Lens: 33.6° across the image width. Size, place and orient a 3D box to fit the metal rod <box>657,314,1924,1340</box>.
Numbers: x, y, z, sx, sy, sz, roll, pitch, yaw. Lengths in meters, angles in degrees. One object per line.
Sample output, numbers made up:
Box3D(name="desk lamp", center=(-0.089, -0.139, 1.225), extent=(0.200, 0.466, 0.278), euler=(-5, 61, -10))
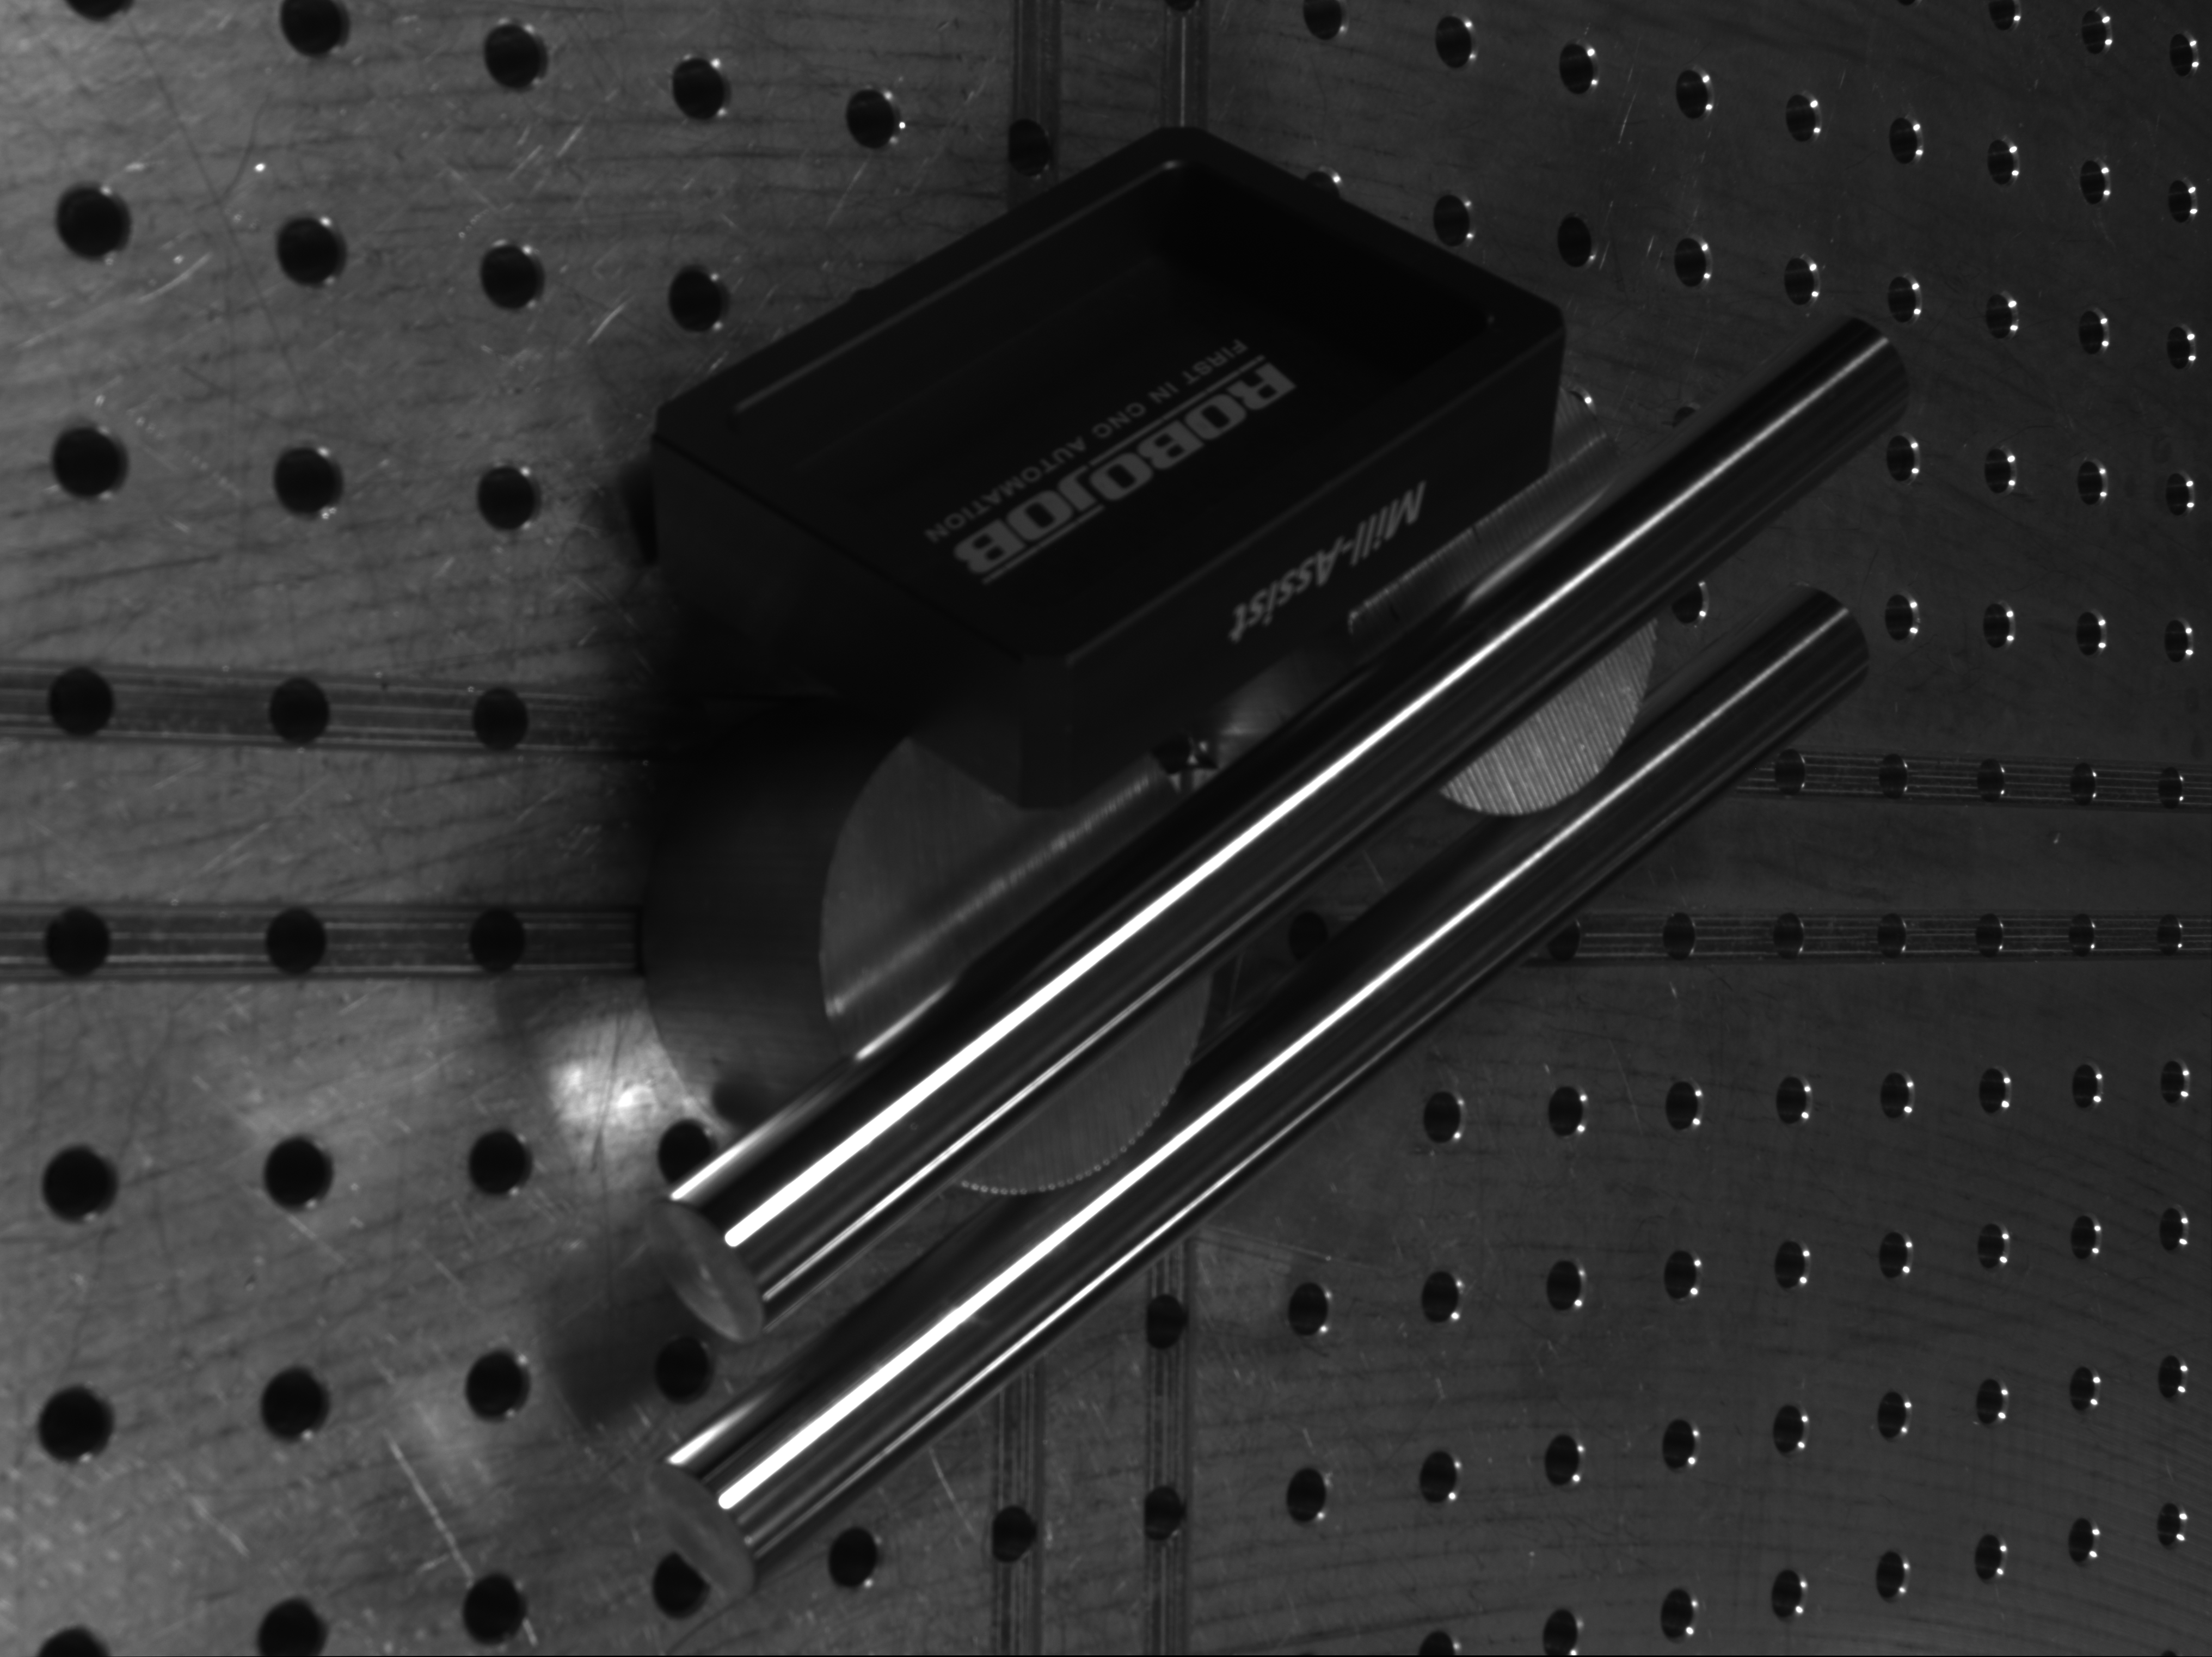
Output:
Box3D(name="metal rod", center=(0.044, -0.011, 0.611), extent=(0.301, 0.025, 0.025), euler=(-37, 112, -34))

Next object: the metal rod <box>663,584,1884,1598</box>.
Box3D(name="metal rod", center=(0.042, 0.035, 0.642), extent=(0.301, 0.025, 0.025), euler=(-35, 112, -34))

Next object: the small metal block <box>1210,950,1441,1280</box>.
Box3D(name="small metal block", center=(0.032, 0.052, 0.666), extent=(0.050, 0.025, 0.050), euler=(19, 78, -38))

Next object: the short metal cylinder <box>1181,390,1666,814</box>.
Box3D(name="short metal cylinder", center=(0.057, -0.043, 0.672), extent=(0.080, 0.050, 0.080), euler=(0, 90, -40))

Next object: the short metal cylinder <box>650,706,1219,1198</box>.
Box3D(name="short metal cylinder", center=(-0.027, 0.019, 0.601), extent=(0.080, 0.050, 0.080), euler=(0, 90, -40))

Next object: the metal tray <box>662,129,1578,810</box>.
Box3D(name="metal tray", center=(0.004, -0.063, 0.599), extent=(0.130, 0.090, 0.030), euler=(-35, 144, -34))
